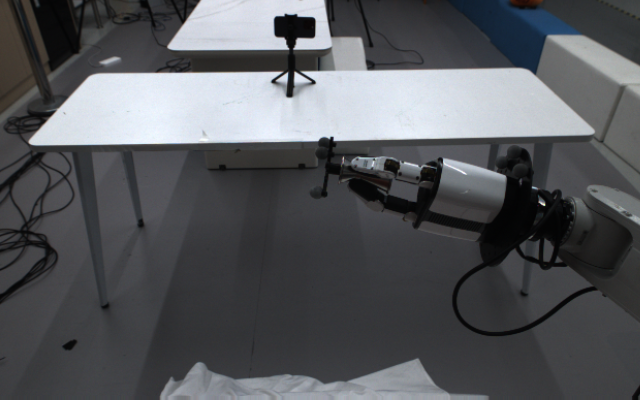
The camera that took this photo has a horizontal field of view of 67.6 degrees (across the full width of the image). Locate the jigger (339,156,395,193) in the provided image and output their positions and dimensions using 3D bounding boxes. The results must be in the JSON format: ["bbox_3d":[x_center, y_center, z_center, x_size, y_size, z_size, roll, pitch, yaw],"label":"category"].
[{"bbox_3d":[0.067,-0.038,0.646,0.071,0.043,0.043,9,35,1],"label":"jigger"}]
